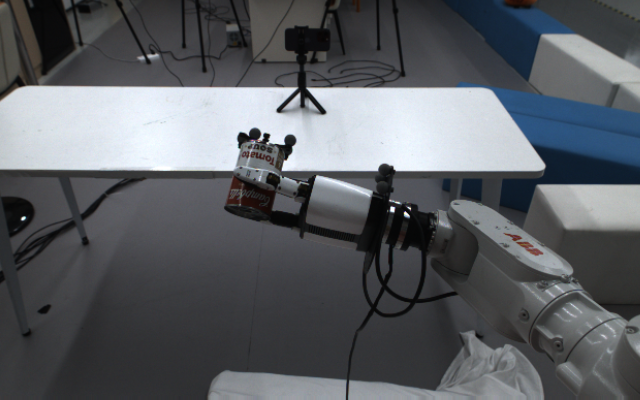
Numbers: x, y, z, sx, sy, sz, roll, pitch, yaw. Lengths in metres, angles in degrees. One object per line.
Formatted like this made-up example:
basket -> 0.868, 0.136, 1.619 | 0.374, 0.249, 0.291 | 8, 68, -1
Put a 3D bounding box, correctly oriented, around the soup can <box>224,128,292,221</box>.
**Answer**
soup can -> -0.093, -0.027, 0.701 | 0.067, 0.067, 0.101 | 9, 74, 9
